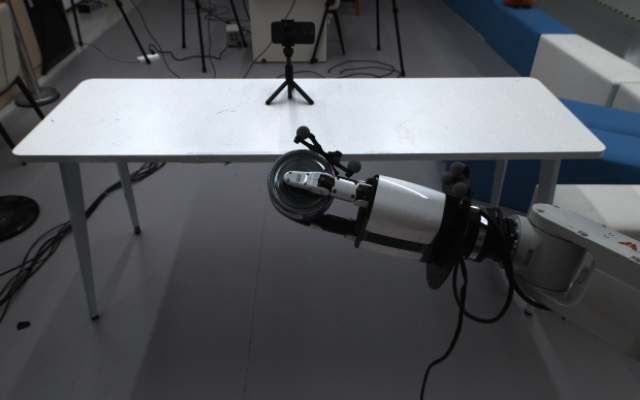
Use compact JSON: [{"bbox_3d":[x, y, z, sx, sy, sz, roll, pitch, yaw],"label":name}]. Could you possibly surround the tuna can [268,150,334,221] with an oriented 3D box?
[{"bbox_3d":[-0.021,-0.020,0.606,0.085,0.034,0.085,0,74,0],"label":"tuna can"}]
